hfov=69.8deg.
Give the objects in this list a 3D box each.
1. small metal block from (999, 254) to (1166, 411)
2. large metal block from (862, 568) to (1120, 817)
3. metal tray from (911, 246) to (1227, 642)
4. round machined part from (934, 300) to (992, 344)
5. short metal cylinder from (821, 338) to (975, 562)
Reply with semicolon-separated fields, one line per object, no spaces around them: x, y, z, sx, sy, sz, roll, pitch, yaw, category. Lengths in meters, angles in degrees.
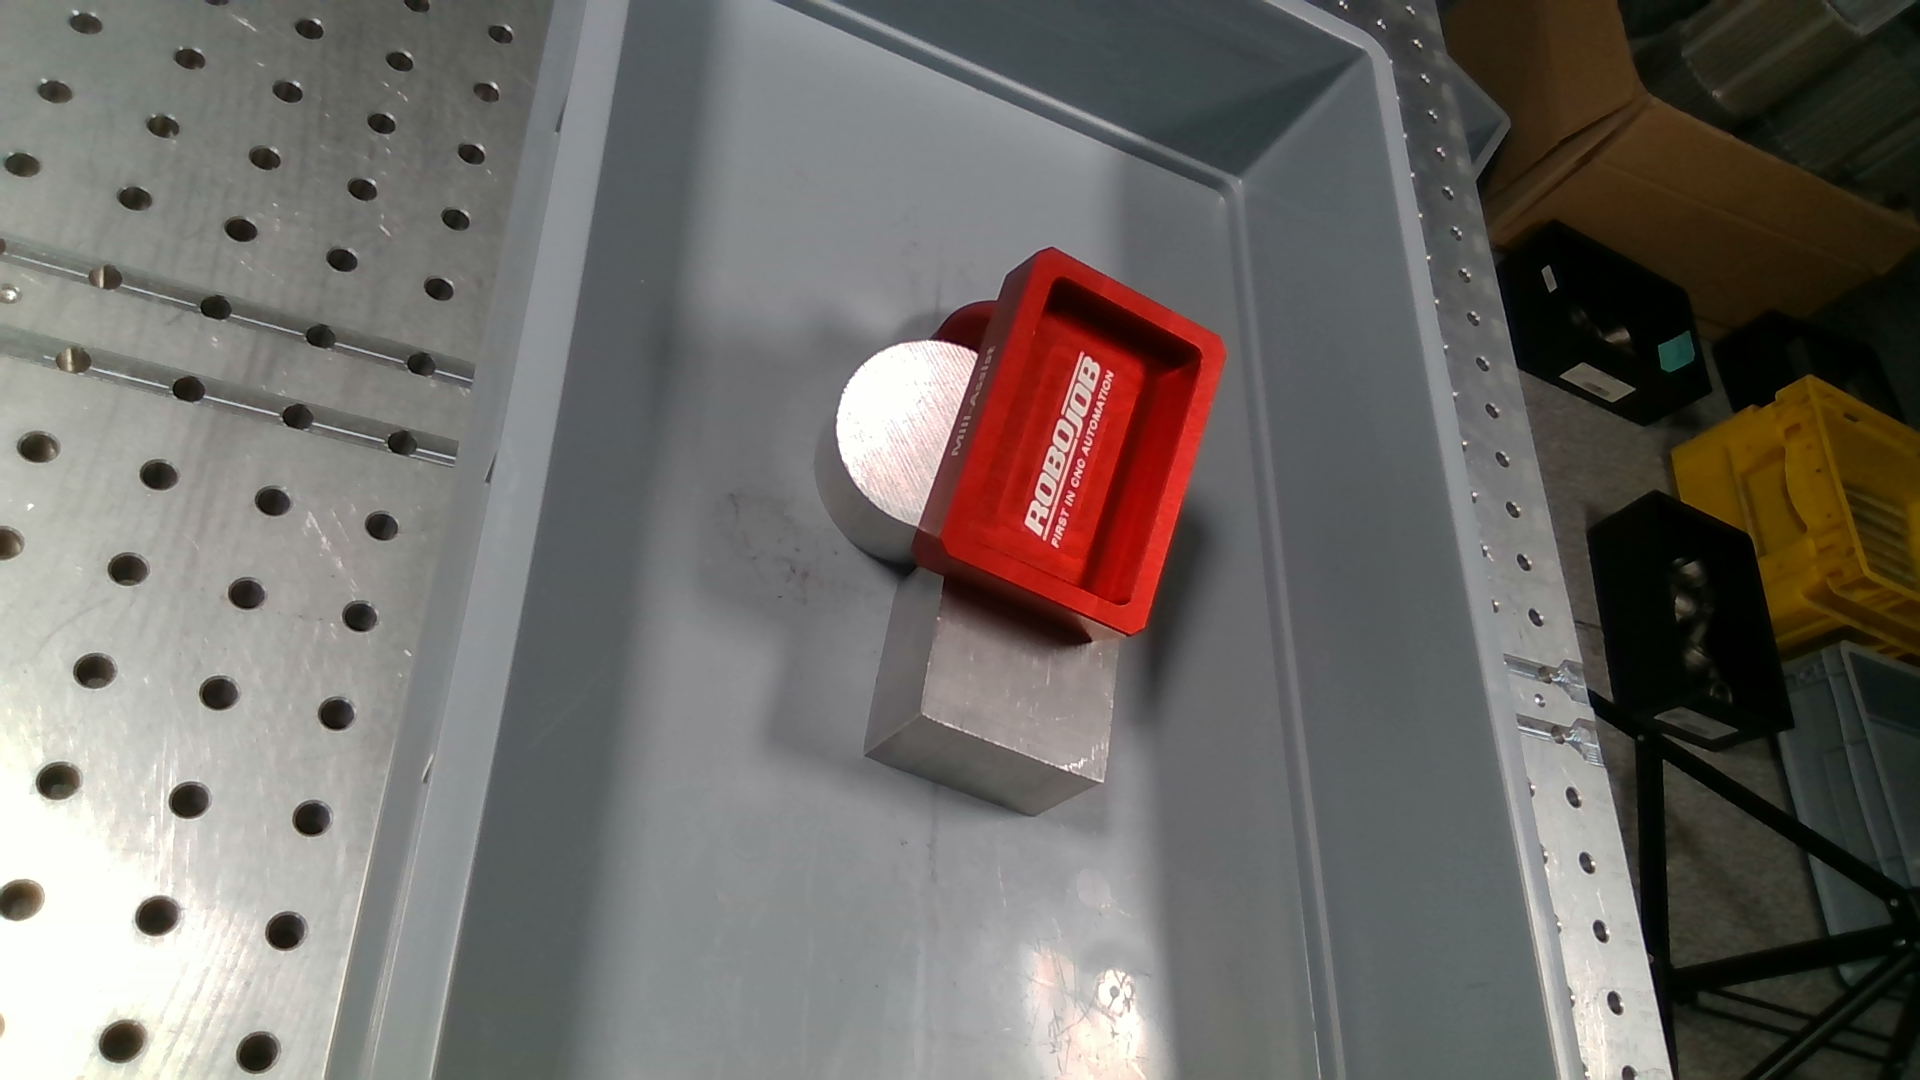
0.052;-0.088;0.594;0.050;0.050;0.025;25;54;-18;small metal block
0.015;0.054;0.547;0.080;0.050;0.080;23;55;-19;large metal block
0.044;-0.036;0.537;0.090;0.030;0.130;24;74;-19;metal tray
0.030;-0.069;0.629;0.098;0.042;0.098;14;59;-25;round machined part
-0.015;-0.036;0.564;0.080;0.050;0.080;4;73;-15;short metal cylinder
